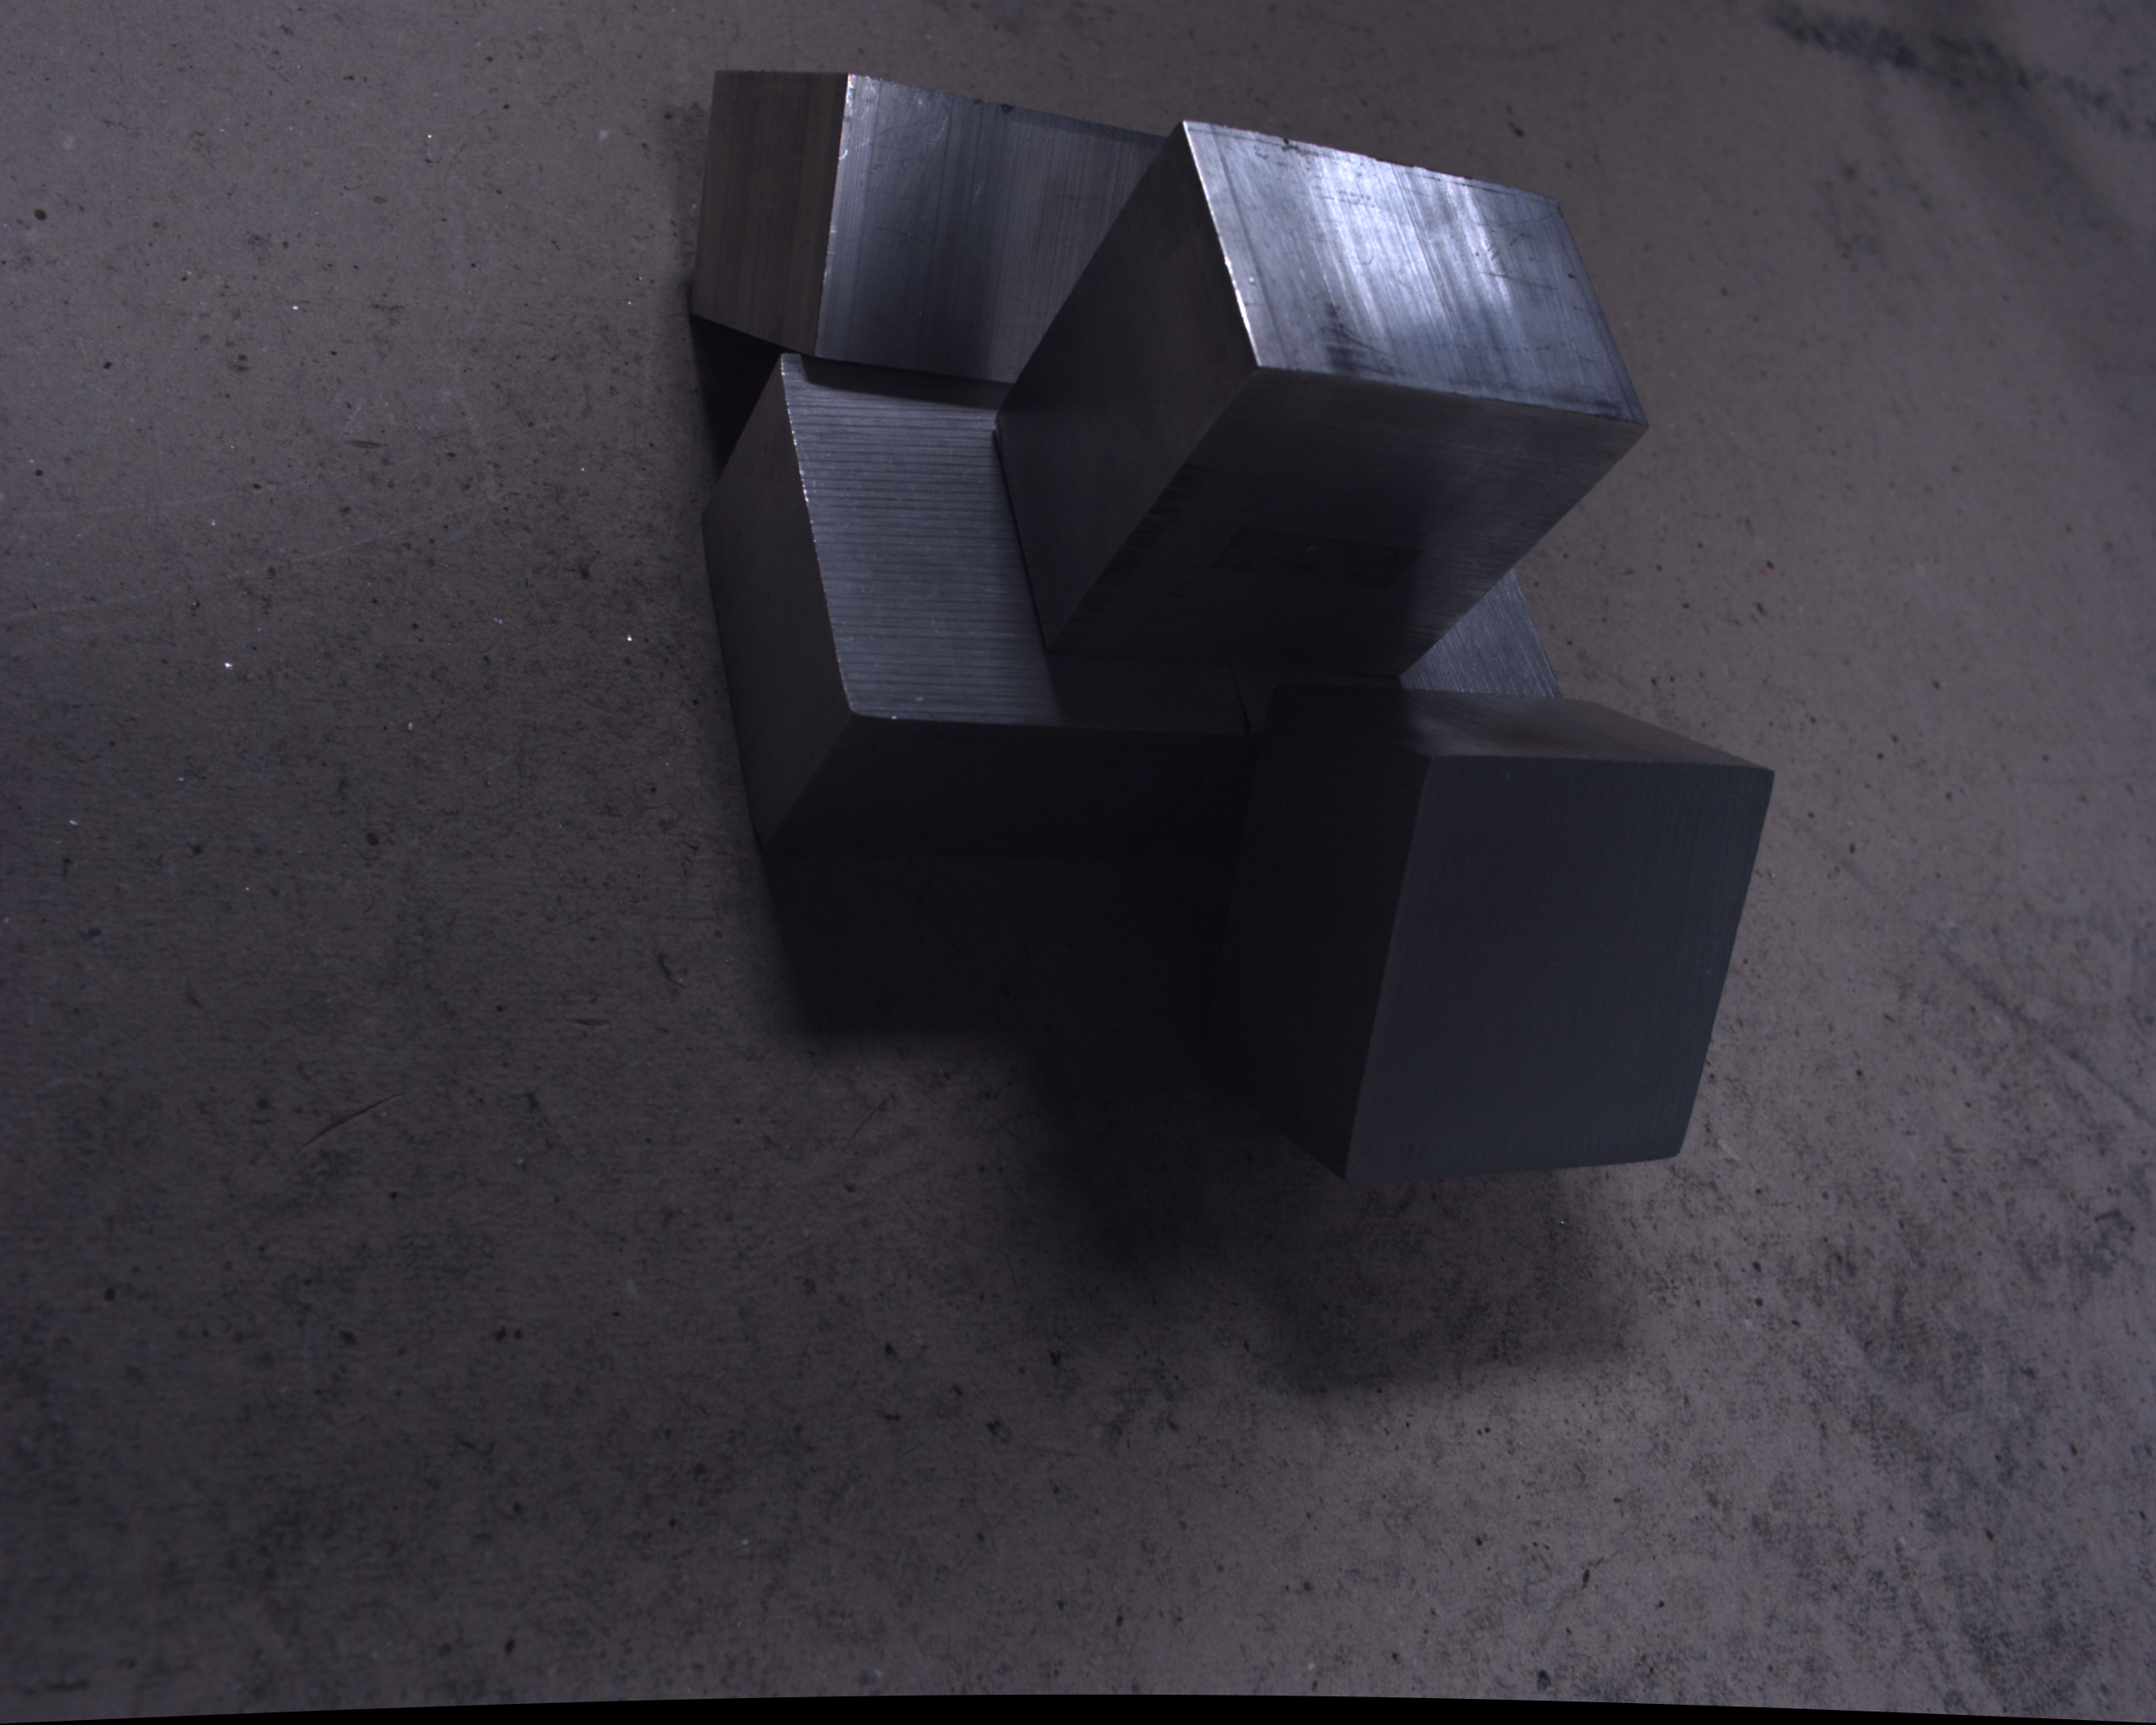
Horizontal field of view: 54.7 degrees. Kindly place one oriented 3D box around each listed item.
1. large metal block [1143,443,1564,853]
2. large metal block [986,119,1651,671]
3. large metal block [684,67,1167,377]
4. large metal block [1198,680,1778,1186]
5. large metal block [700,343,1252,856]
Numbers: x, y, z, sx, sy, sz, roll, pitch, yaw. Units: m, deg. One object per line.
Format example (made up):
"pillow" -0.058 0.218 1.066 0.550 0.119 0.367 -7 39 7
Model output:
"large metal block" 0.049 -0.048 0.445 0.081 0.050 0.080 1 62 -28
"large metal block" 0.040 -0.080 0.378 0.081 0.080 0.050 1 61 -28
"large metal block" -0.028 -0.129 0.428 0.081 0.050 0.080 0 18 -28
"large metal block" 0.077 0.012 0.398 0.081 0.079 0.050 1 18 -29
"large metal block" -0.022 -0.049 0.406 0.081 0.050 0.080 1 62 -28
